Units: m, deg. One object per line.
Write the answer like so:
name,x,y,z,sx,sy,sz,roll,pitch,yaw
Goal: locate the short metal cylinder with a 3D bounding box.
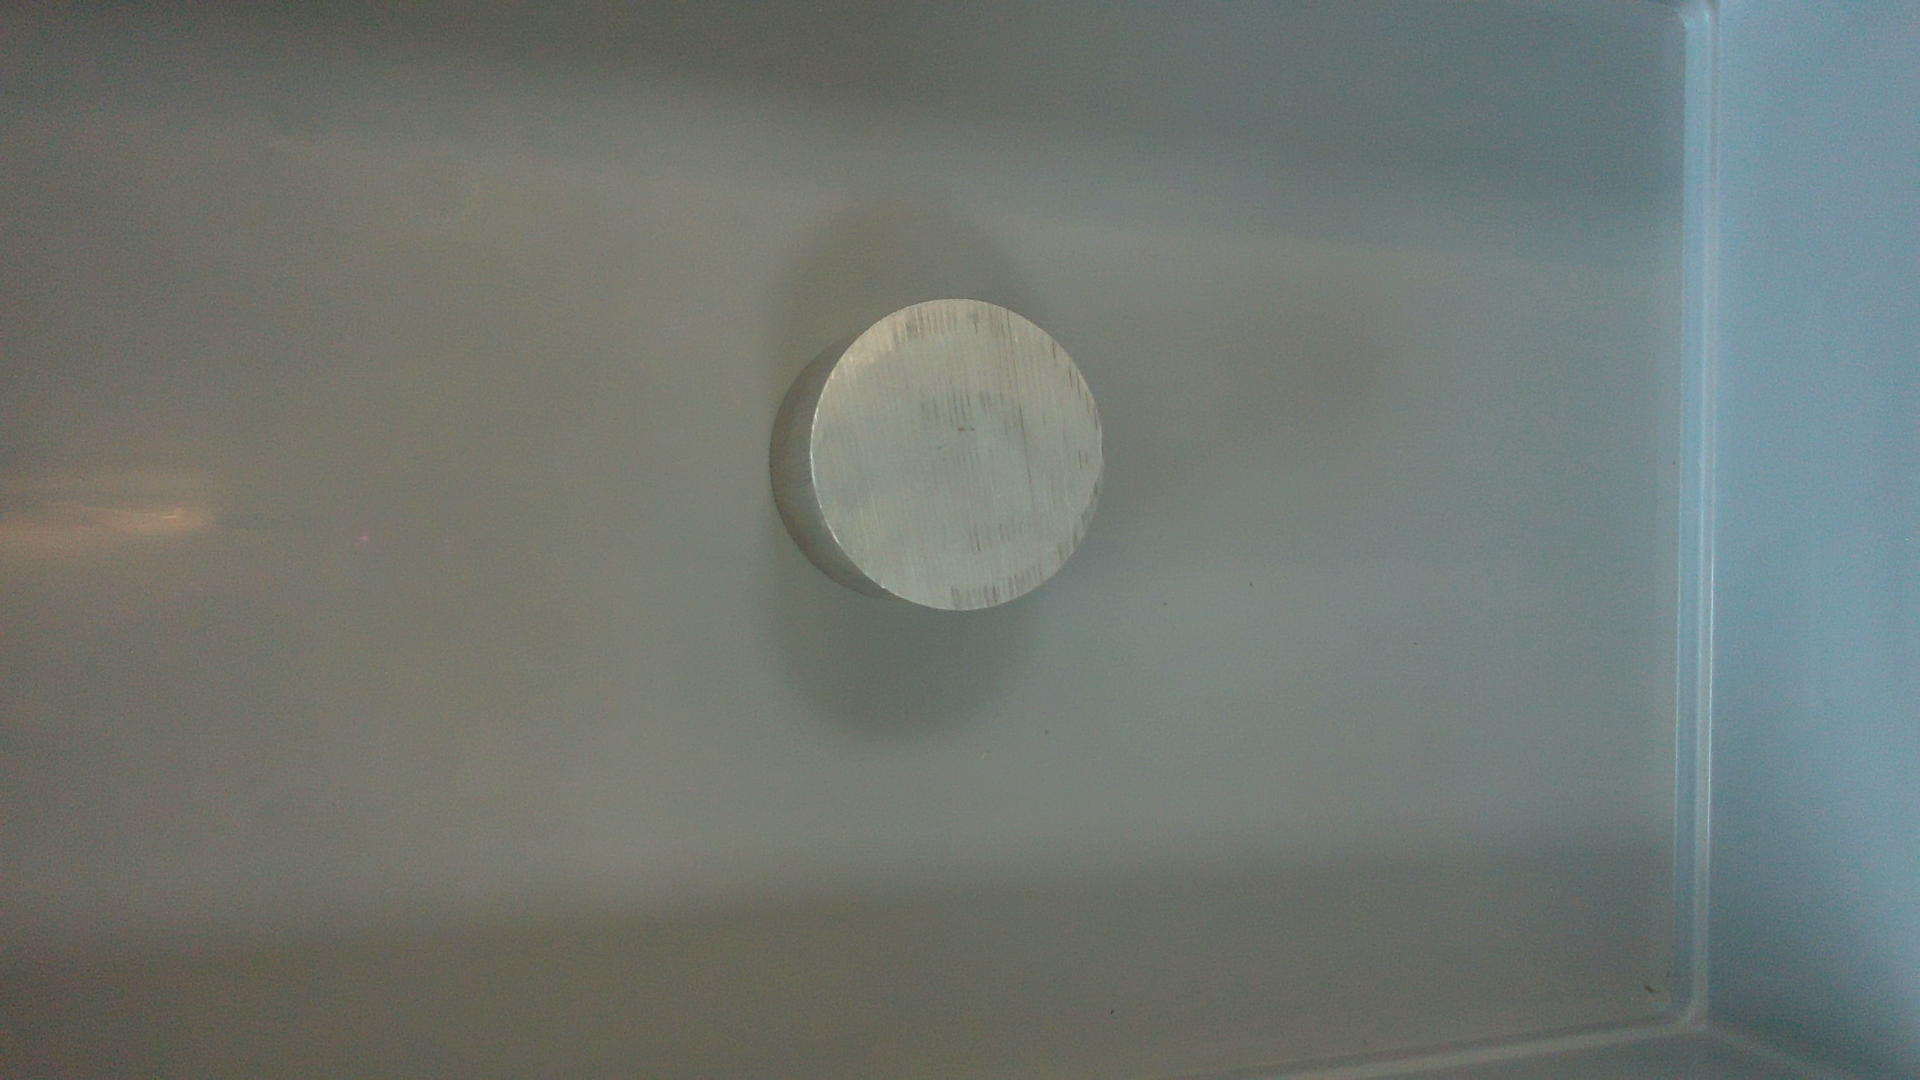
short metal cylinder,-0.008,-0.022,0.375,0.080,0.050,0.080,0,90,-20
